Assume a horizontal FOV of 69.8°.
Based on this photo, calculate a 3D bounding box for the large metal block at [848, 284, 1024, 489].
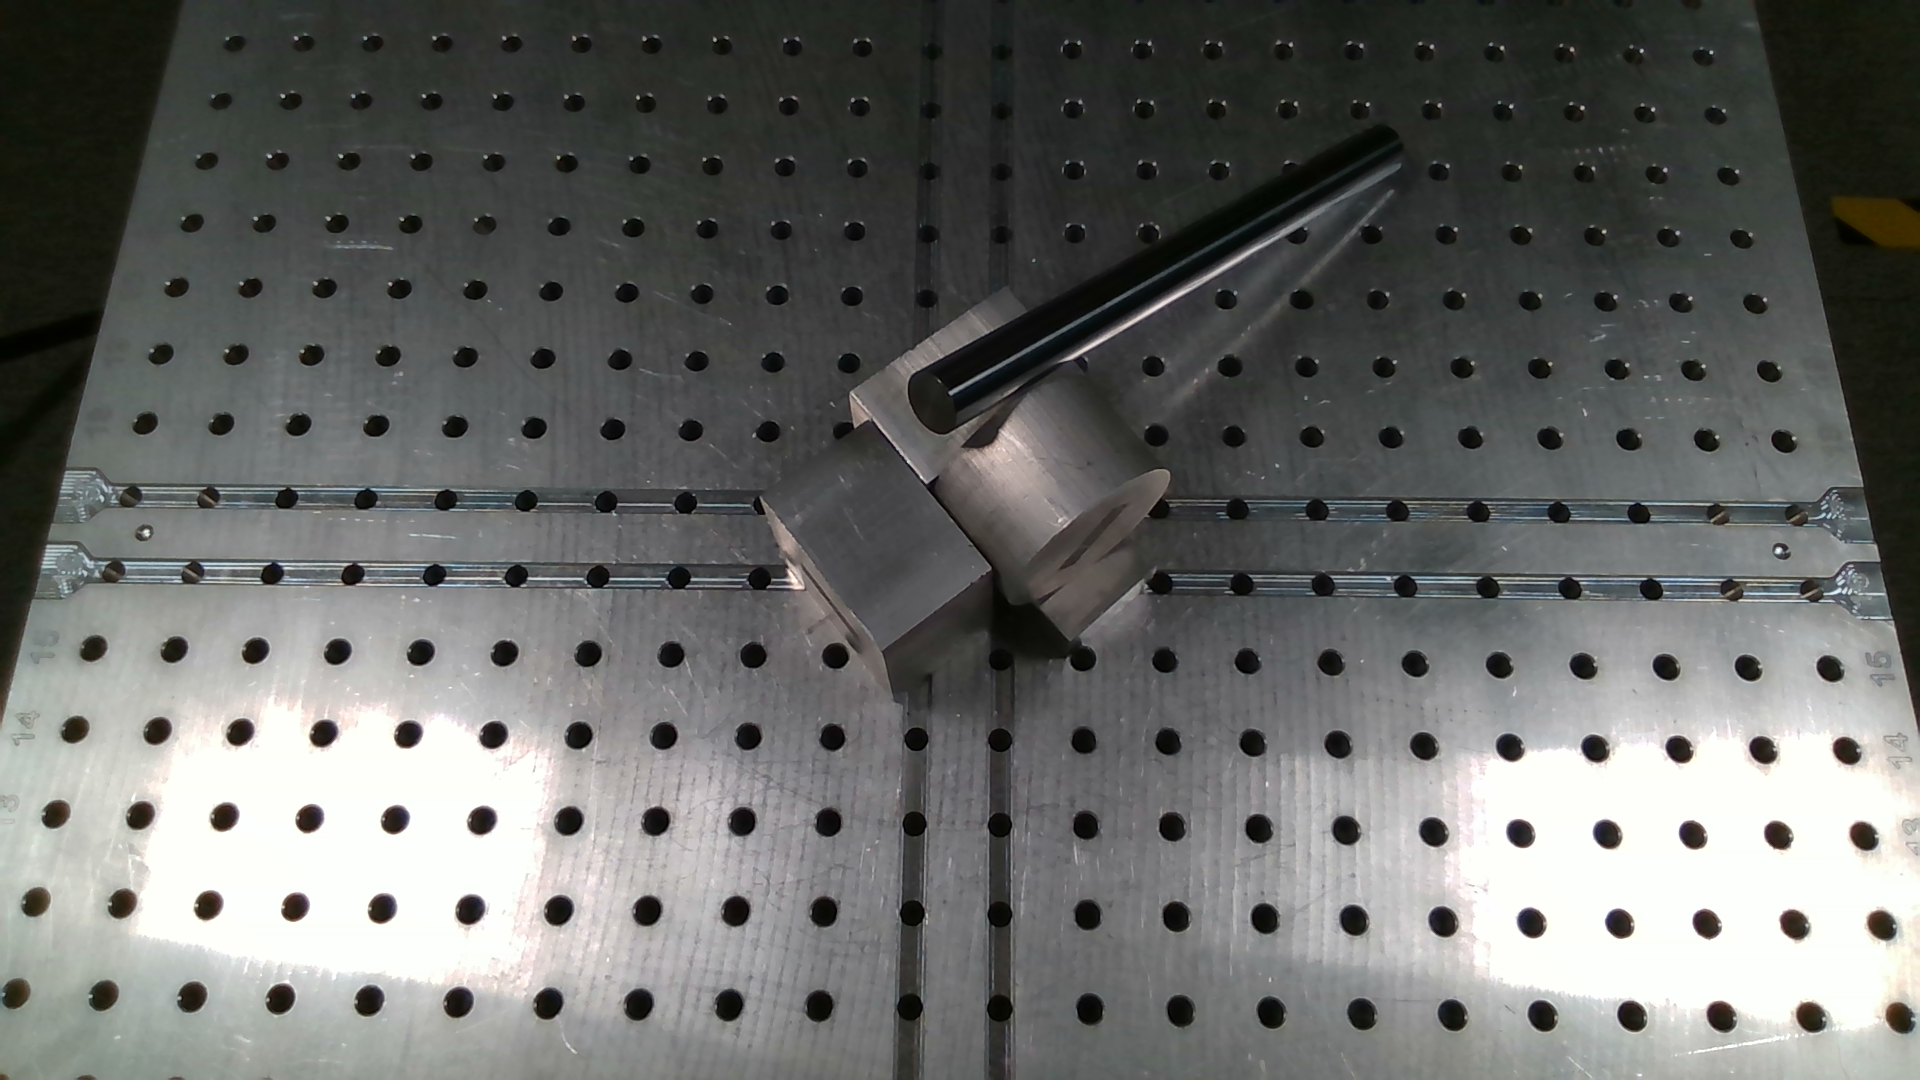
[{"bbox_3d":[0.003,-0.048,0.579,0.080,0.080,0.050,-36,74,-12],"label":"large metal block"}]

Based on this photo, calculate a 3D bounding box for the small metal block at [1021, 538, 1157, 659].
[{"bbox_3d":[0.047,0.013,0.586,0.050,0.025,0.050,-40,75,-13],"label":"small metal block"}]

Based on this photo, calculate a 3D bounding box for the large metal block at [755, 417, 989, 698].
[{"bbox_3d":[-0.034,0.010,0.556,0.050,0.080,0.080,-36,74,-12],"label":"large metal block"}]

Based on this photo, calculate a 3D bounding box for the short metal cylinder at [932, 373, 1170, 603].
[{"bbox_3d":[0.035,-0.019,0.541,0.080,0.080,0.050,-35,74,-12],"label":"short metal cylinder"}]

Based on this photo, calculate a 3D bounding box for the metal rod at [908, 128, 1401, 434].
[{"bbox_3d":[0.095,-0.117,0.577,0.300,0.025,0.025,-33,72,-33],"label":"metal rod"}]
